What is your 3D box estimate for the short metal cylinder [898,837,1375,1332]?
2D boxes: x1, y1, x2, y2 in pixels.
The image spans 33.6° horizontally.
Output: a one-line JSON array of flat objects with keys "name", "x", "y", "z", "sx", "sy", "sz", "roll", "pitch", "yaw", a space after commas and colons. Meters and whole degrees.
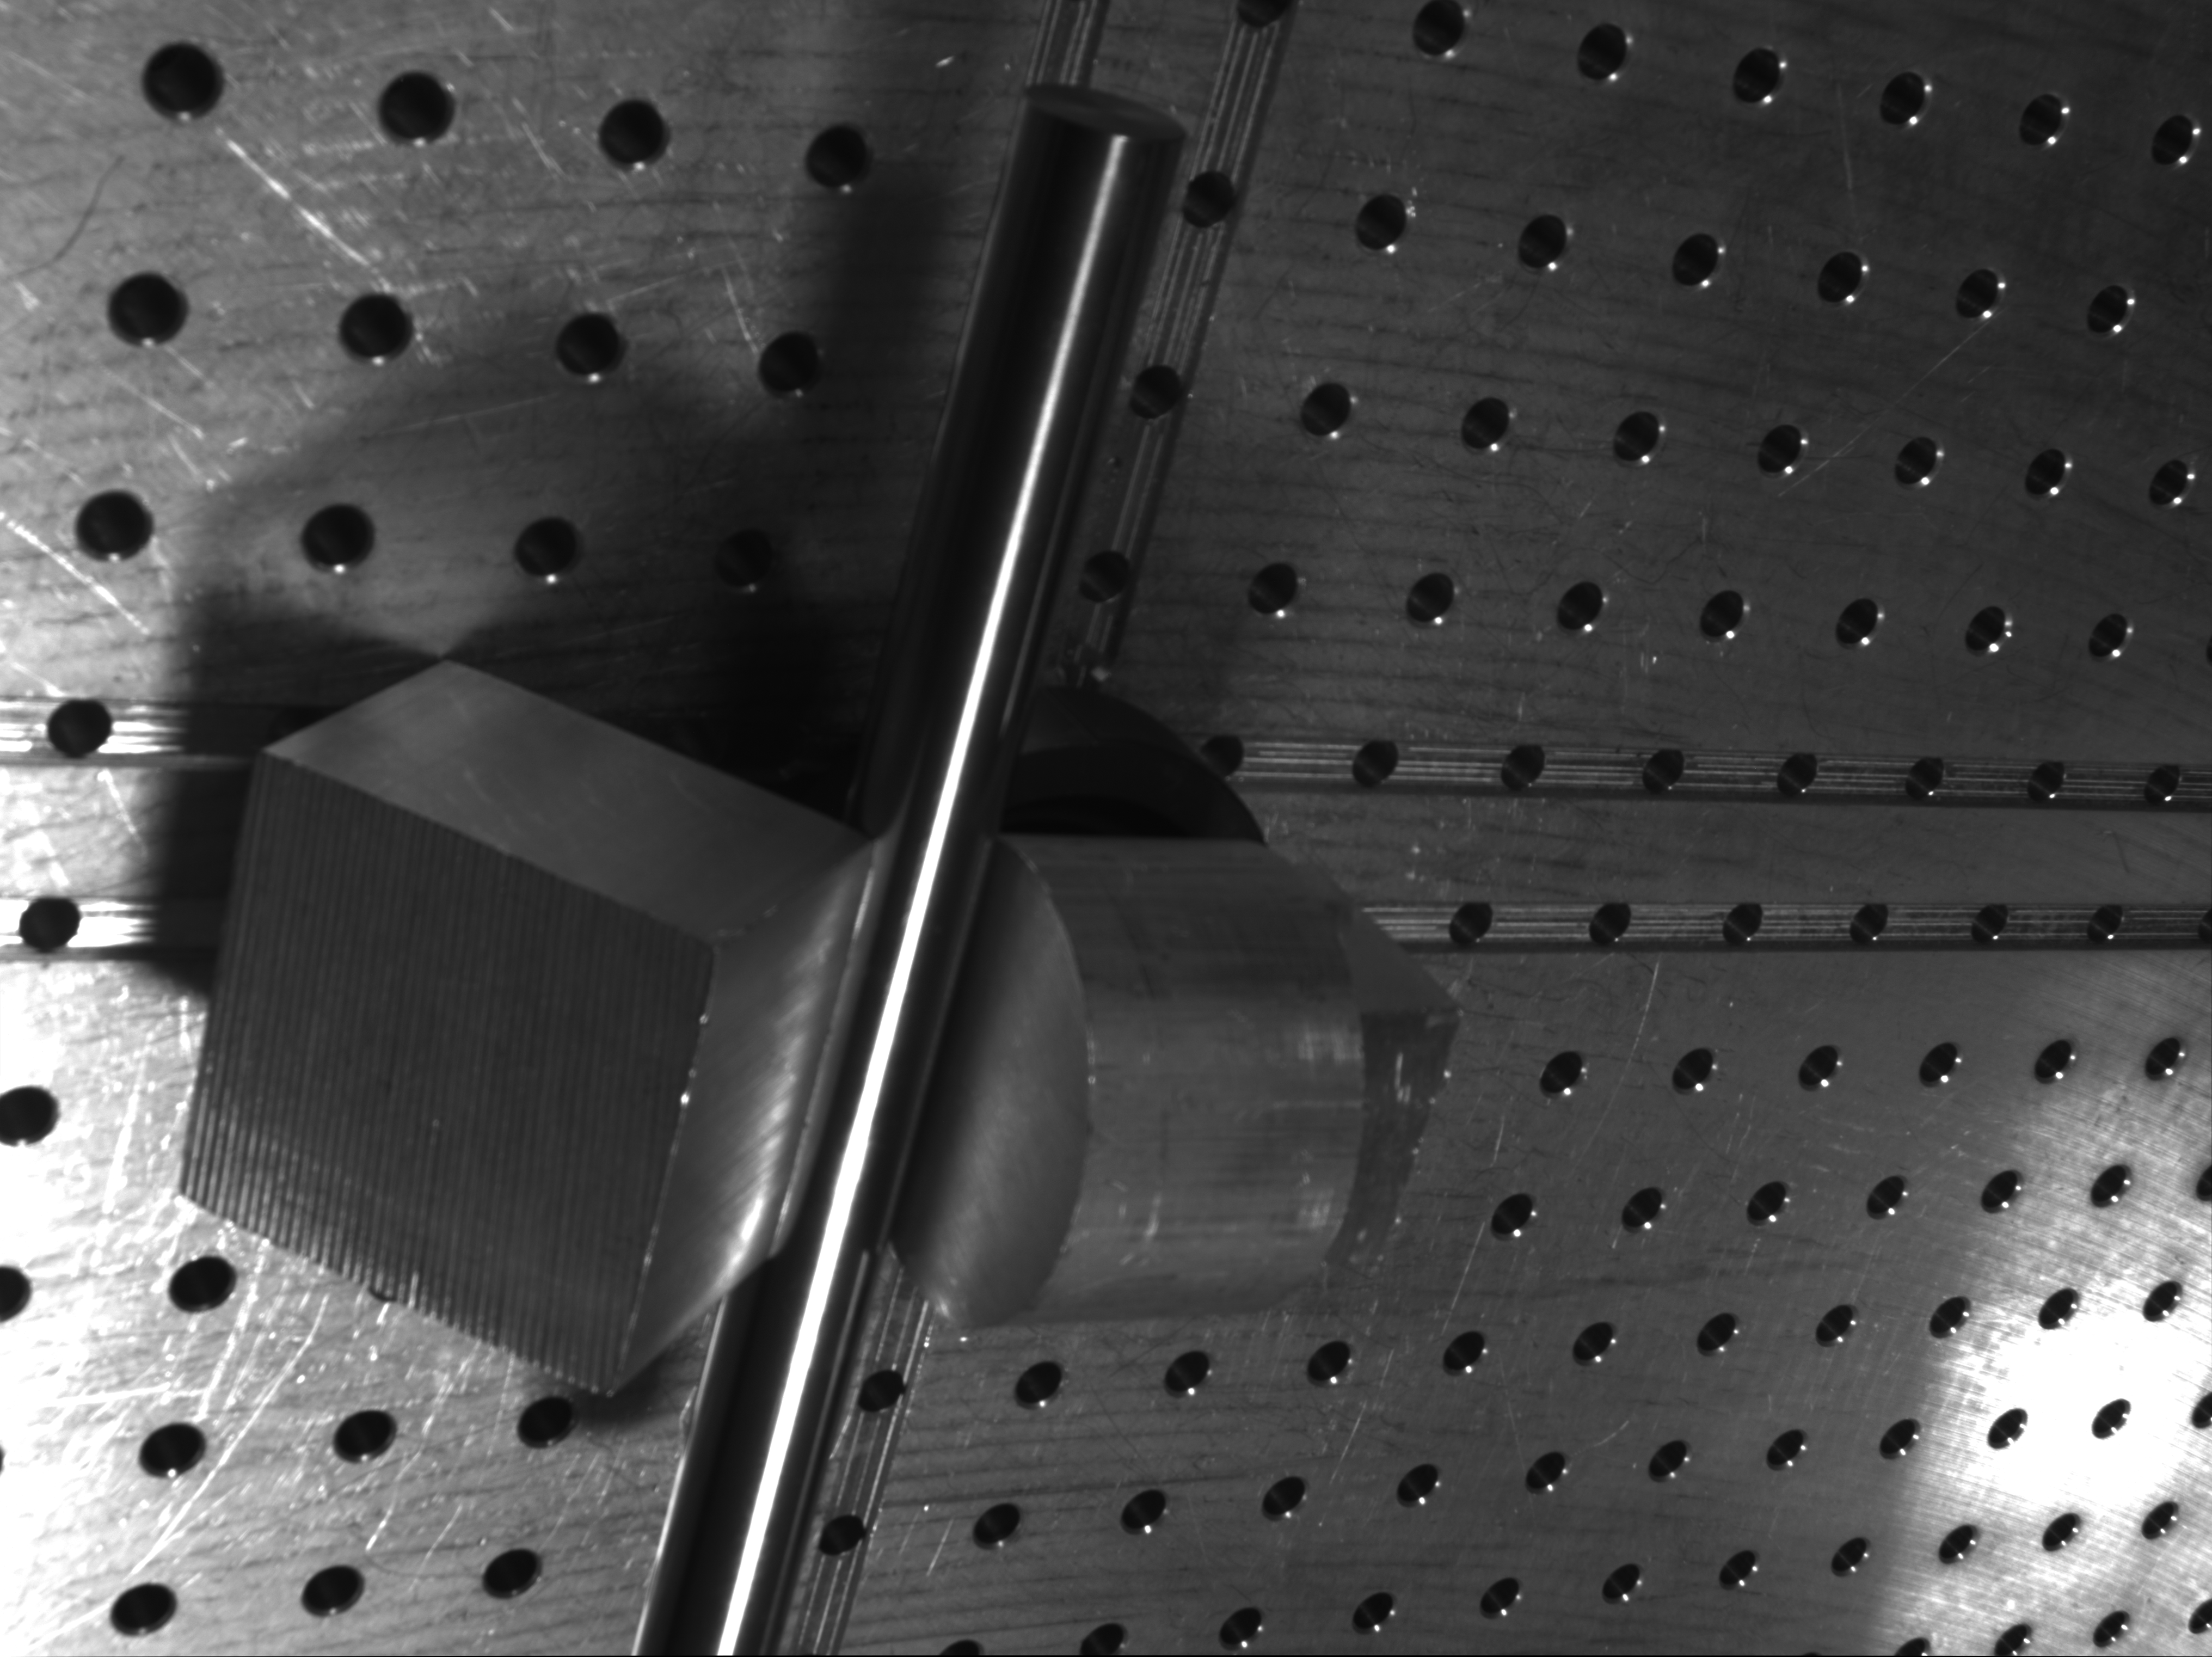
[{"name": "short metal cylinder", "x": 0.001, "y": 0.041, "z": 0.605, "sx": 0.050, "sy": 0.080, "sz": 0.080, "roll": 1, "pitch": 118, "yaw": -31}]

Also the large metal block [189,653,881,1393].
[{"name": "large metal block", "x": -0.090, "y": 0.029, "z": 0.576, "sx": 0.050, "sy": 0.080, "sz": 0.080, "roll": -40, "pitch": 149, "yaw": -62}]

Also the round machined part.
[{"name": "round machined part", "x": -0.020, "y": 0.019, "z": 0.642, "sx": 0.098, "sy": 0.042, "sz": 0.098, "roll": -15, "pitch": 125, "yaw": -22}]

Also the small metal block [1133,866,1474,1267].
[{"name": "small metal block", "x": 0.033, "y": 0.040, "z": 0.626, "sx": 0.025, "sy": 0.050, "sz": 0.050, "roll": 1, "pitch": 118, "yaw": -31}]

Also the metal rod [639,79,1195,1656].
[{"name": "metal rod", "x": -0.036, "y": 0.027, "z": 0.595, "sx": 0.025, "sy": 0.025, "sz": 0.300, "roll": 1, "pitch": 118, "yaw": -31}]
